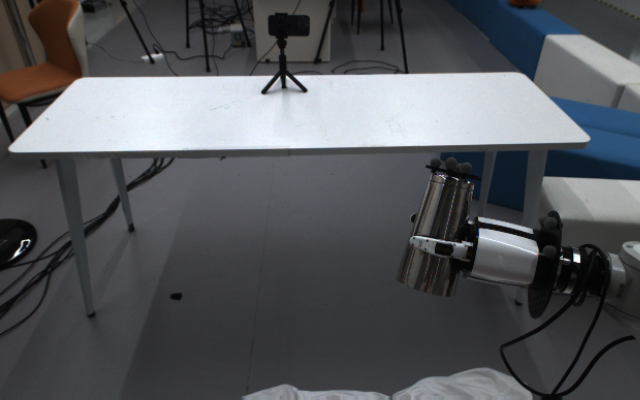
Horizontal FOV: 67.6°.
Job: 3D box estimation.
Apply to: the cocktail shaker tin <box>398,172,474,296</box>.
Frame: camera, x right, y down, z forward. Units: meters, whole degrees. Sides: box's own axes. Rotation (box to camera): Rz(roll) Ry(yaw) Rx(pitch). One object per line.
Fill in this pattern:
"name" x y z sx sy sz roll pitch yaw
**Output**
"cocktail shaker tin" 0.182 0.049 0.738 0.093 0.170 0.093 13 4 -1
